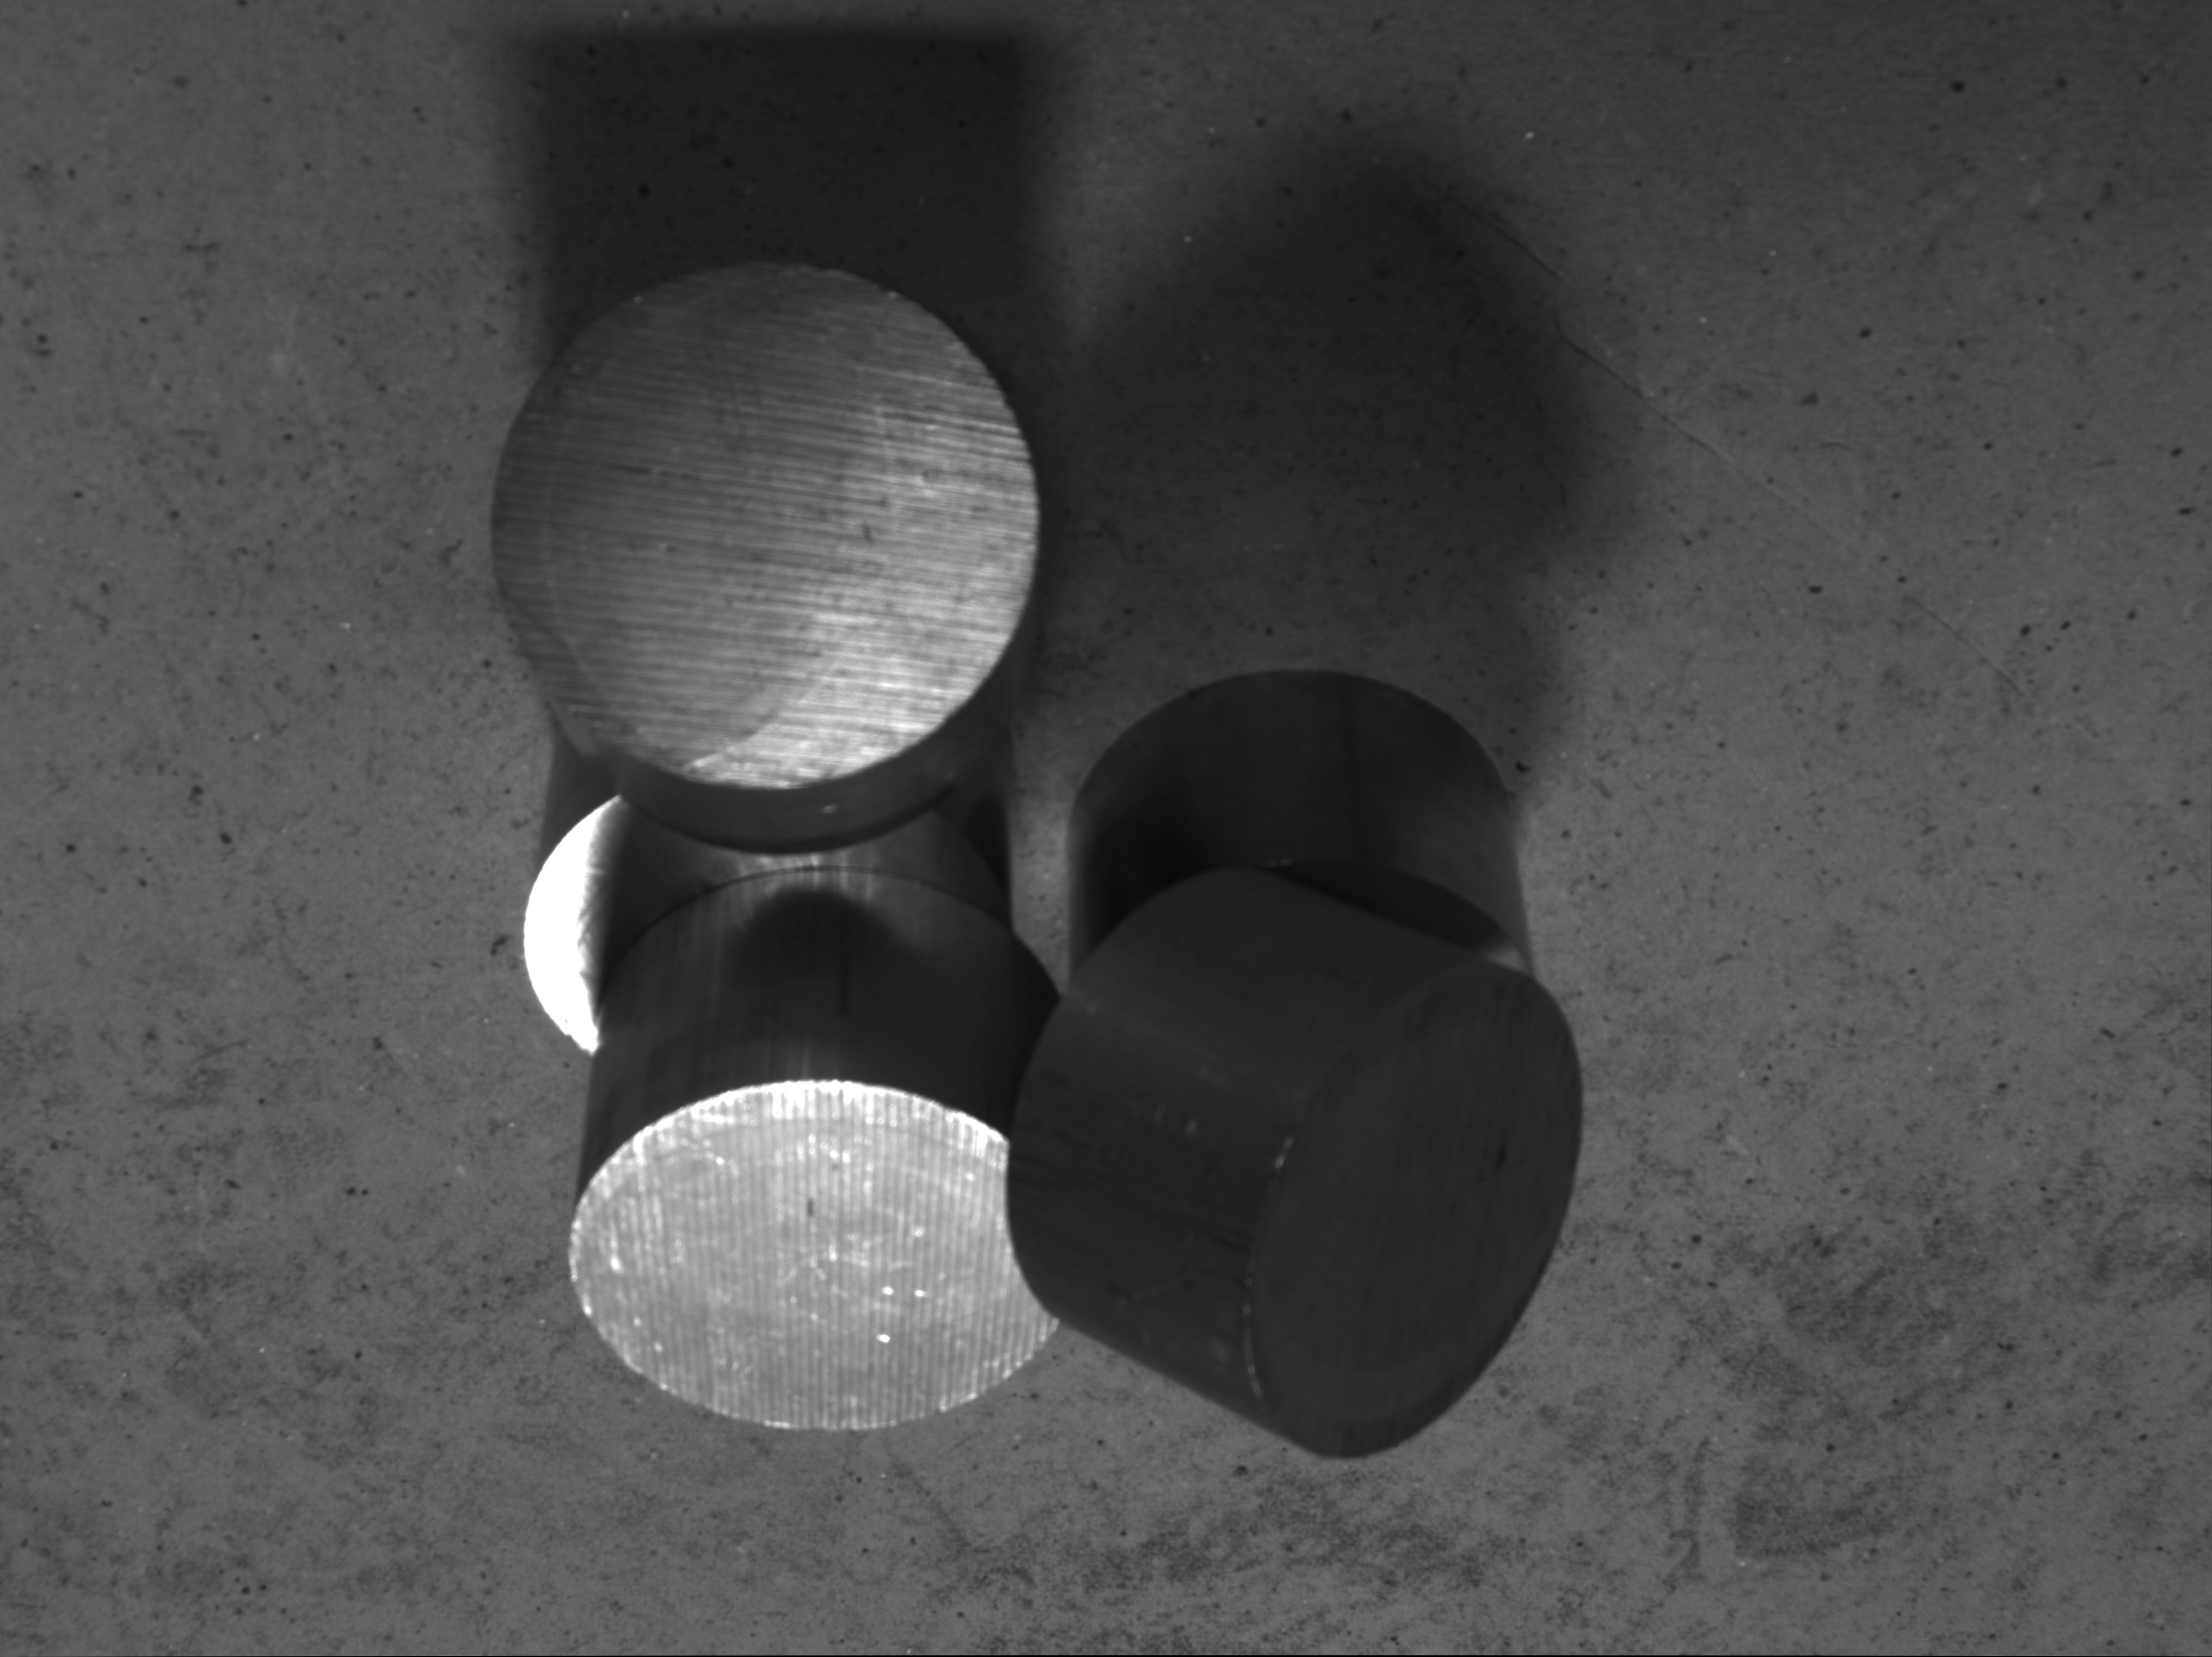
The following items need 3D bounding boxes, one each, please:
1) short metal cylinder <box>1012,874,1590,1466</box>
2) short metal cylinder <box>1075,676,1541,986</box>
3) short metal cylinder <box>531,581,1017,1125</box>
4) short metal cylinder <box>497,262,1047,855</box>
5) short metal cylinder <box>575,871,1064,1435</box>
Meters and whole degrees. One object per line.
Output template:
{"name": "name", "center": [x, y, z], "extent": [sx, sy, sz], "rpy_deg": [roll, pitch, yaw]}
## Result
{"name": "short metal cylinder", "center": [0.031, 0.053, 0.573], "extent": [0.050, 0.080, 0.080], "rpy_deg": [21, 144, 40]}
{"name": "short metal cylinder", "center": [0.034, 0.020, 0.640], "extent": [0.080, 0.050, 0.080], "rpy_deg": [-1, 130, -1]}
{"name": "short metal cylinder", "center": [-0.055, 0.005, 0.624], "extent": [0.080, 0.050, 0.080], "rpy_deg": [-1, 130, -1]}
{"name": "short metal cylinder", "center": [-0.049, -0.040, 0.559], "extent": [0.080, 0.080, 0.050], "rpy_deg": [0, 169, -2]}
{"name": "short metal cylinder", "center": [-0.044, 0.054, 0.600], "extent": [0.080, 0.050, 0.080], "rpy_deg": [-1, 130, -1]}
